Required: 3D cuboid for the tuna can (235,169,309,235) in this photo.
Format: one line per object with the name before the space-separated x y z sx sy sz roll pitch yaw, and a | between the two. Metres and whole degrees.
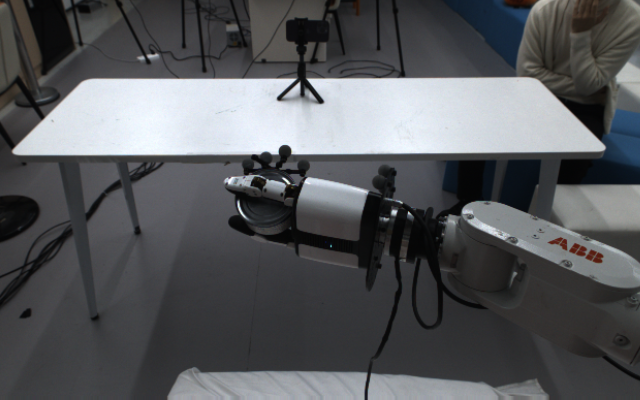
tuna can | -0.068 0.003 0.650 0.085 0.034 0.085 -3 61 6
